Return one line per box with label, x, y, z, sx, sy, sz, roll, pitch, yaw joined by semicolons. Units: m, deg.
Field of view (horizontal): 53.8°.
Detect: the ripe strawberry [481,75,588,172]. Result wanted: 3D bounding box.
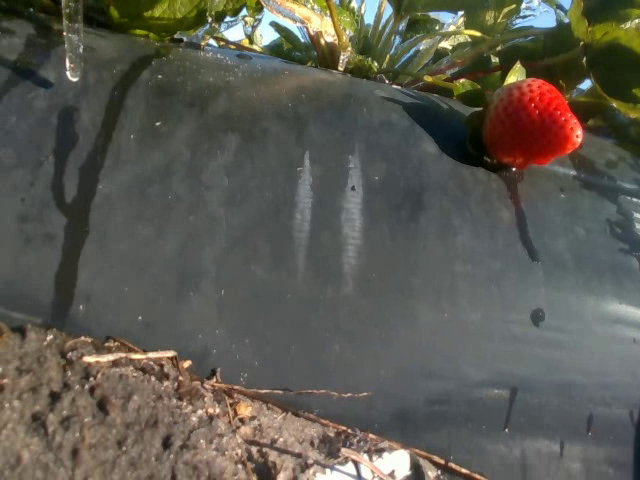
ripe strawberry;0.088;-0.046;0.254;0.039;0.041;0.053;0;24;-16
